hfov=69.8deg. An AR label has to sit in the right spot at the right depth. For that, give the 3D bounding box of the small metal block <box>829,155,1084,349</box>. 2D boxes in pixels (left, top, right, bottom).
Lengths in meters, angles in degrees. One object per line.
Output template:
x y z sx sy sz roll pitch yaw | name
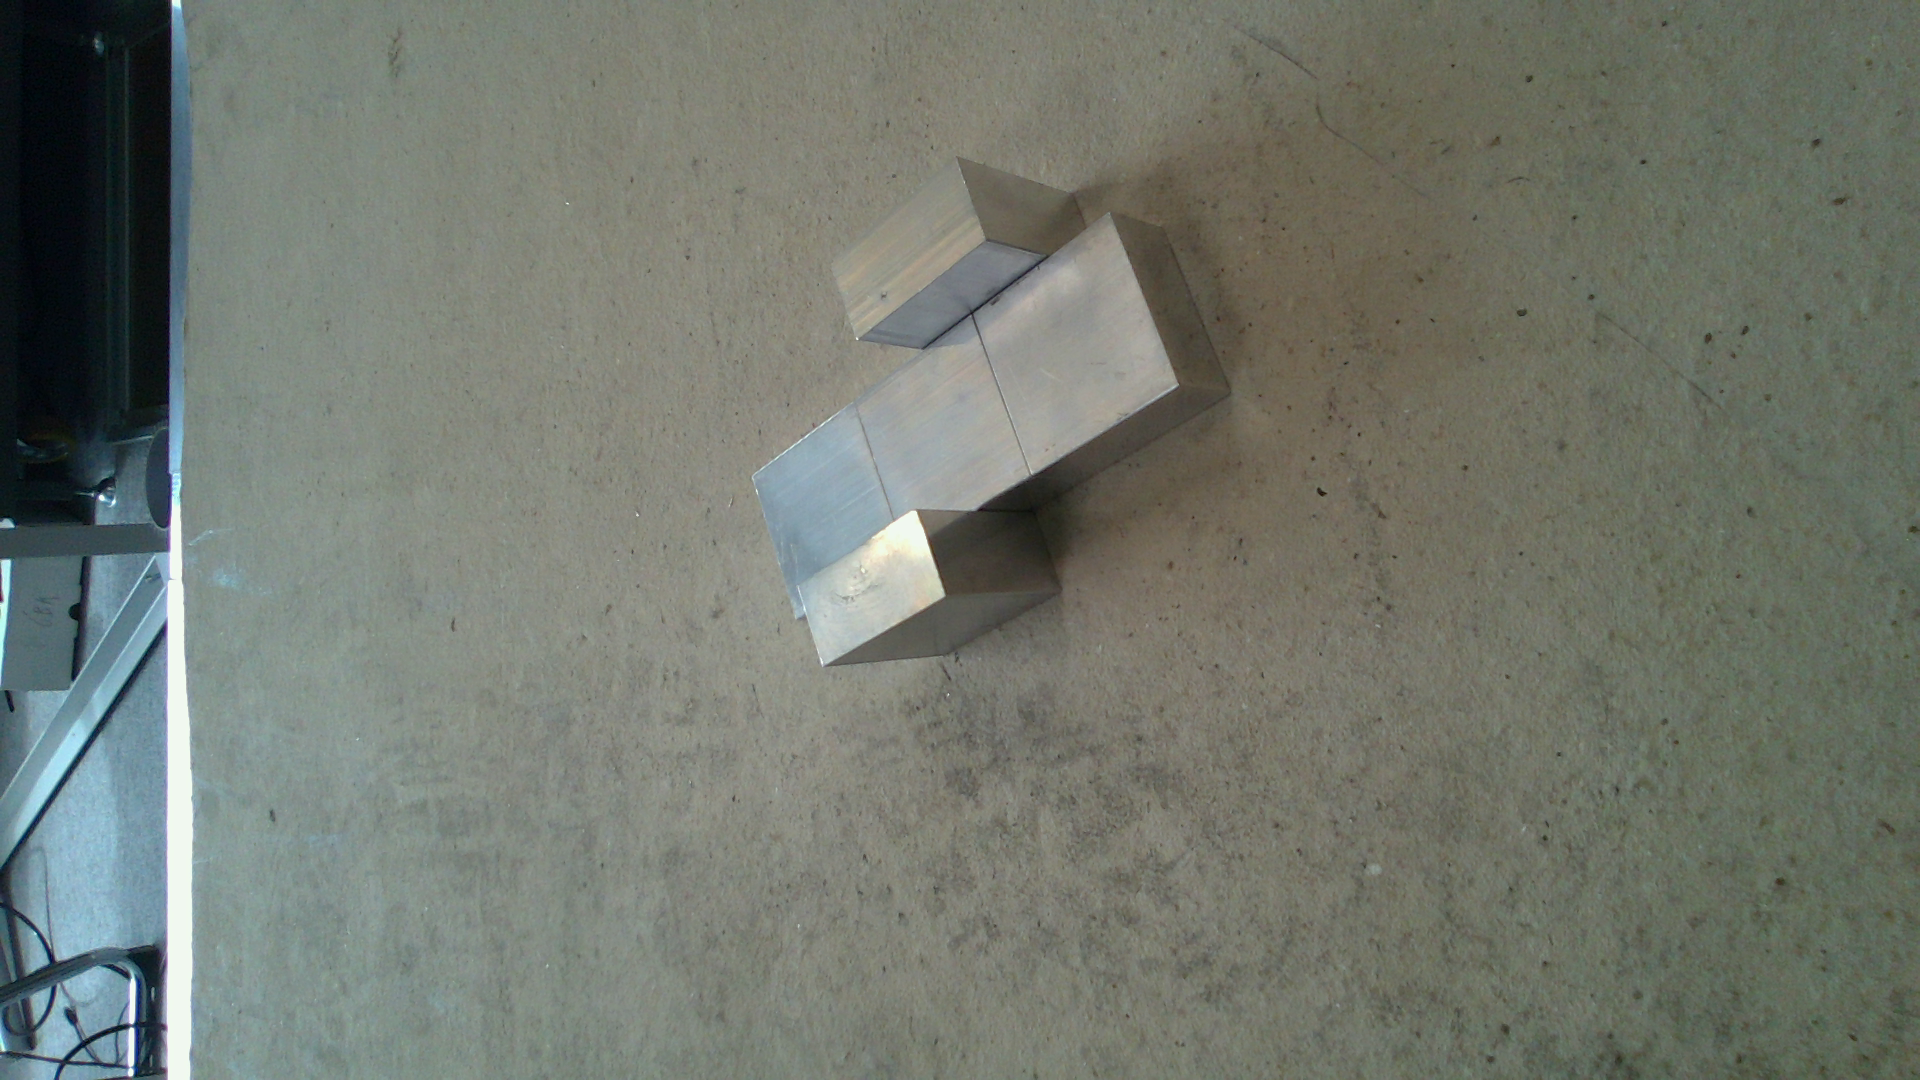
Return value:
0.002 -0.076 0.378 0.050 0.050 0.025 -31 71 37 | small metal block

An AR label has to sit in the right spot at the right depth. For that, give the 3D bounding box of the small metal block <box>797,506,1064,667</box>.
-0.008 0.013 0.386 0.050 0.050 0.025 -32 70 36 | small metal block

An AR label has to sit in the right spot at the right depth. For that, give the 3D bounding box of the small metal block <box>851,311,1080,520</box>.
0.001 -0.030 0.394 0.050 0.025 0.050 -31 71 36 | small metal block

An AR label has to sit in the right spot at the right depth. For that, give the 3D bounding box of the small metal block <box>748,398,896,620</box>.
-0.033 -0.009 0.423 0.050 0.025 0.050 -31 71 36 | small metal block

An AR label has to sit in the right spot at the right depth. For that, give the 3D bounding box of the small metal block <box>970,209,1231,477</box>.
0.036 -0.050 0.364 0.050 0.025 0.050 -31 71 36 | small metal block
